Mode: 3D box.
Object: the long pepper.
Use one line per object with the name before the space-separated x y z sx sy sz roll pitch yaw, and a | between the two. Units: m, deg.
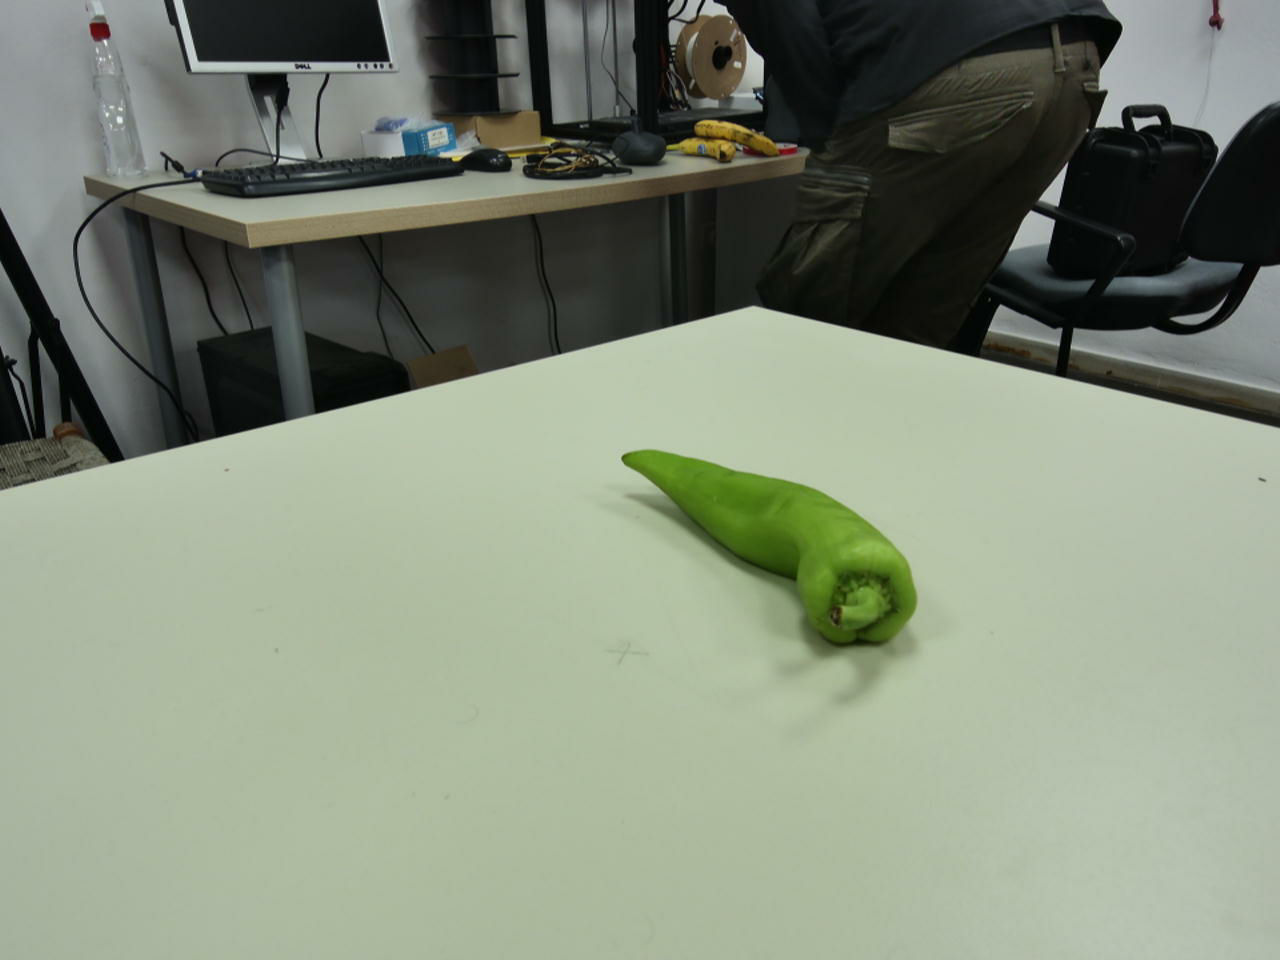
long pepper | 0.060 0.020 0.463 0.065 0.045 0.204 -9 24 -21
